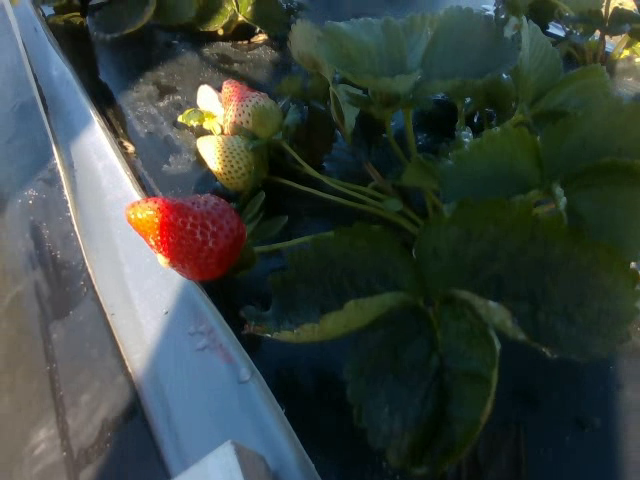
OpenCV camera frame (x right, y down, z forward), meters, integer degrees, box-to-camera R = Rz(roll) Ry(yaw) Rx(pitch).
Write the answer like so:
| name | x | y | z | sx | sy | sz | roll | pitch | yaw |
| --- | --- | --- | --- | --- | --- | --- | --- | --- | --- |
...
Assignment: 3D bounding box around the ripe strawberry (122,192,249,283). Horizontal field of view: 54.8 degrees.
| name | x | y | z | sx | sy | sz | roll | pitch | yaw |
| --- | --- | --- | --- | --- | --- | --- | --- | --- | --- |
| ripe strawberry | -0.047 | -0.004 | 0.209 | 0.045 | 0.038 | 0.036 | 29 | 19 | -39 |
